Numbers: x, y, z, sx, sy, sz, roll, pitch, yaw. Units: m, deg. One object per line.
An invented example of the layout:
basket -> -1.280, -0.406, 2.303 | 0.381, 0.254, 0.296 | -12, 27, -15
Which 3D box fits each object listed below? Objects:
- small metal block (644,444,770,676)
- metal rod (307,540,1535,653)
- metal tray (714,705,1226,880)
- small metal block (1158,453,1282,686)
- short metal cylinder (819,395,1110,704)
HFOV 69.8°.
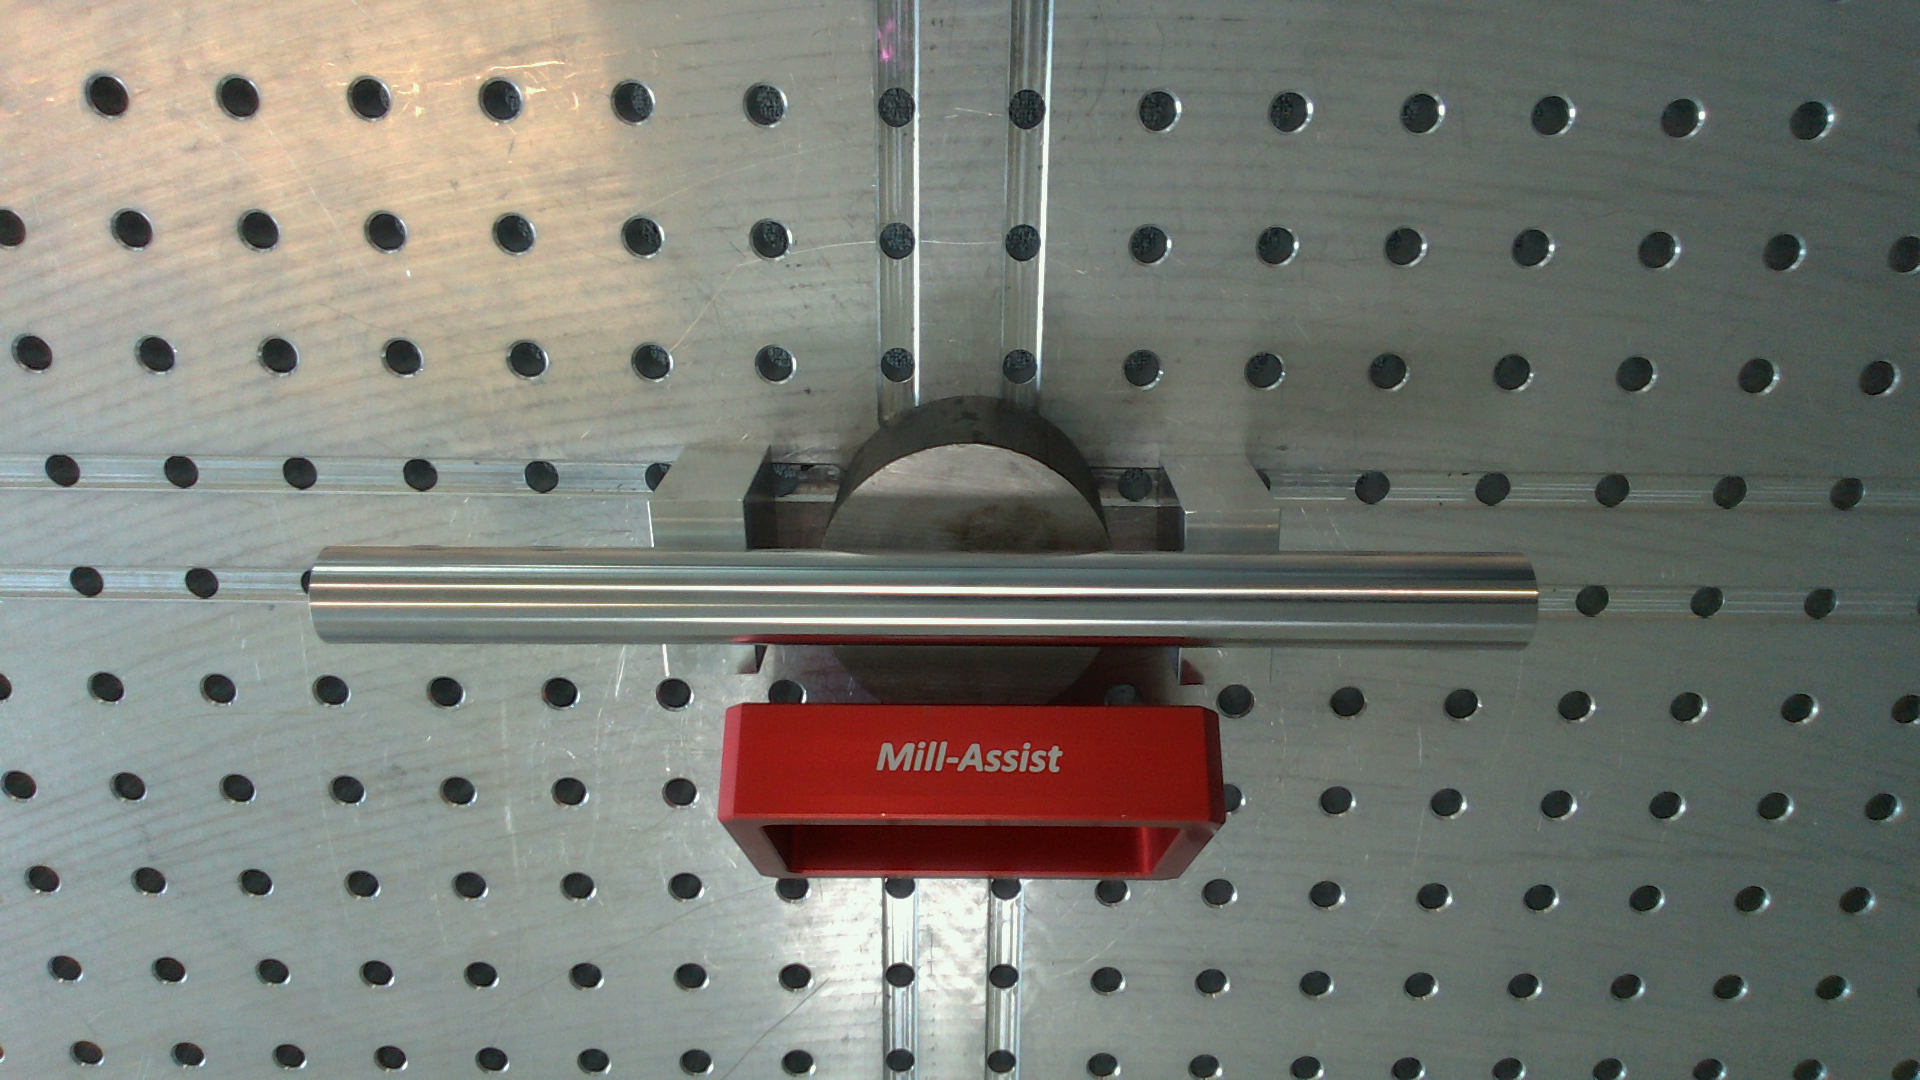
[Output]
small metal block -> -0.068, 0.004, 0.385 | 0.025, 0.050, 0.050 | -1, 110, 0
metal rod -> -0.009, 0.014, 0.348 | 0.300, 0.025, 0.025 | 1, 110, 0
metal tray -> 0.003, 0.074, 0.392 | 0.130, 0.090, 0.030 | 0, 67, 0
small metal block -> 0.071, 0.007, 0.386 | 0.025, 0.050, 0.050 | -1, 110, 0
short metal cylinder -> 0.001, 0.005, 0.385 | 0.080, 0.050, 0.080 | 0, 110, 0
